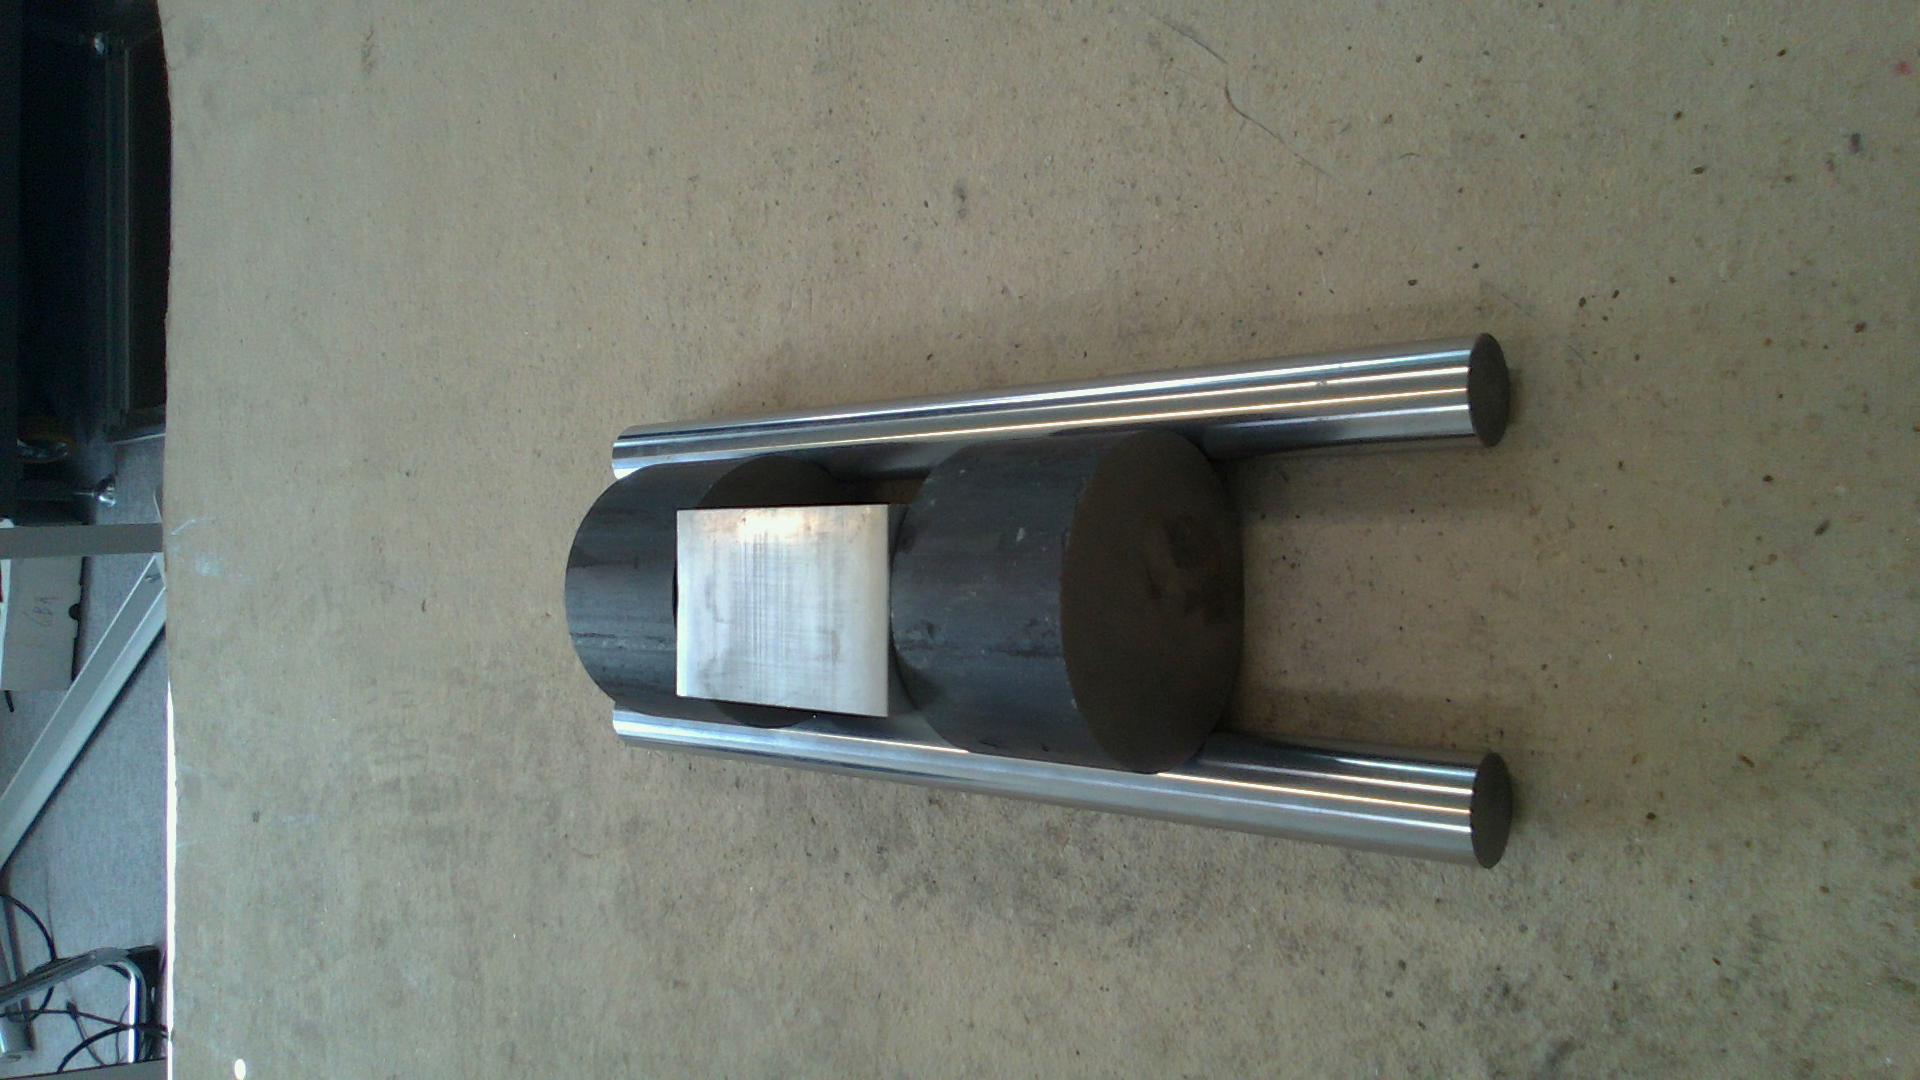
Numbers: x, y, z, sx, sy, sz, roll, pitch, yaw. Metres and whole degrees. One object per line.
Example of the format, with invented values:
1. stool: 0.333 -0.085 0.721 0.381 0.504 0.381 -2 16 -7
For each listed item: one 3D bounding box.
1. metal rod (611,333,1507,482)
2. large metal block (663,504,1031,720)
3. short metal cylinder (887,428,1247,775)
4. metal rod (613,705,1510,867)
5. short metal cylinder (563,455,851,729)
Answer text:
1. metal rod: 0.000 -0.031 0.395 0.299 0.025 0.025 -1 90 40
2. large metal block: -0.024 0.017 0.375 0.080 0.080 0.050 0 90 40
3. short metal cylinder: 0.028 0.014 0.335 0.050 0.080 0.080 -1 89 40
4. metal rod: 0.001 0.060 0.395 0.299 0.025 0.025 -1 90 40
5. short metal cylinder: -0.072 0.015 0.419 0.050 0.080 0.080 -1 89 40
